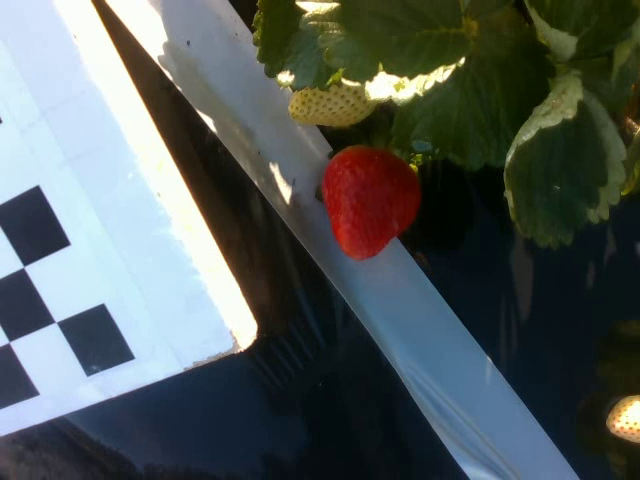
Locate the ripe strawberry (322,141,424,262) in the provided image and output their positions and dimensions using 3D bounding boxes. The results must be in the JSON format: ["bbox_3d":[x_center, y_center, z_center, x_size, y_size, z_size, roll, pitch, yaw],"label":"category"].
[{"bbox_3d":[0.019,-0.015,0.238,0.045,0.049,0.064,3,44,16],"label":"ripe strawberry"}]
